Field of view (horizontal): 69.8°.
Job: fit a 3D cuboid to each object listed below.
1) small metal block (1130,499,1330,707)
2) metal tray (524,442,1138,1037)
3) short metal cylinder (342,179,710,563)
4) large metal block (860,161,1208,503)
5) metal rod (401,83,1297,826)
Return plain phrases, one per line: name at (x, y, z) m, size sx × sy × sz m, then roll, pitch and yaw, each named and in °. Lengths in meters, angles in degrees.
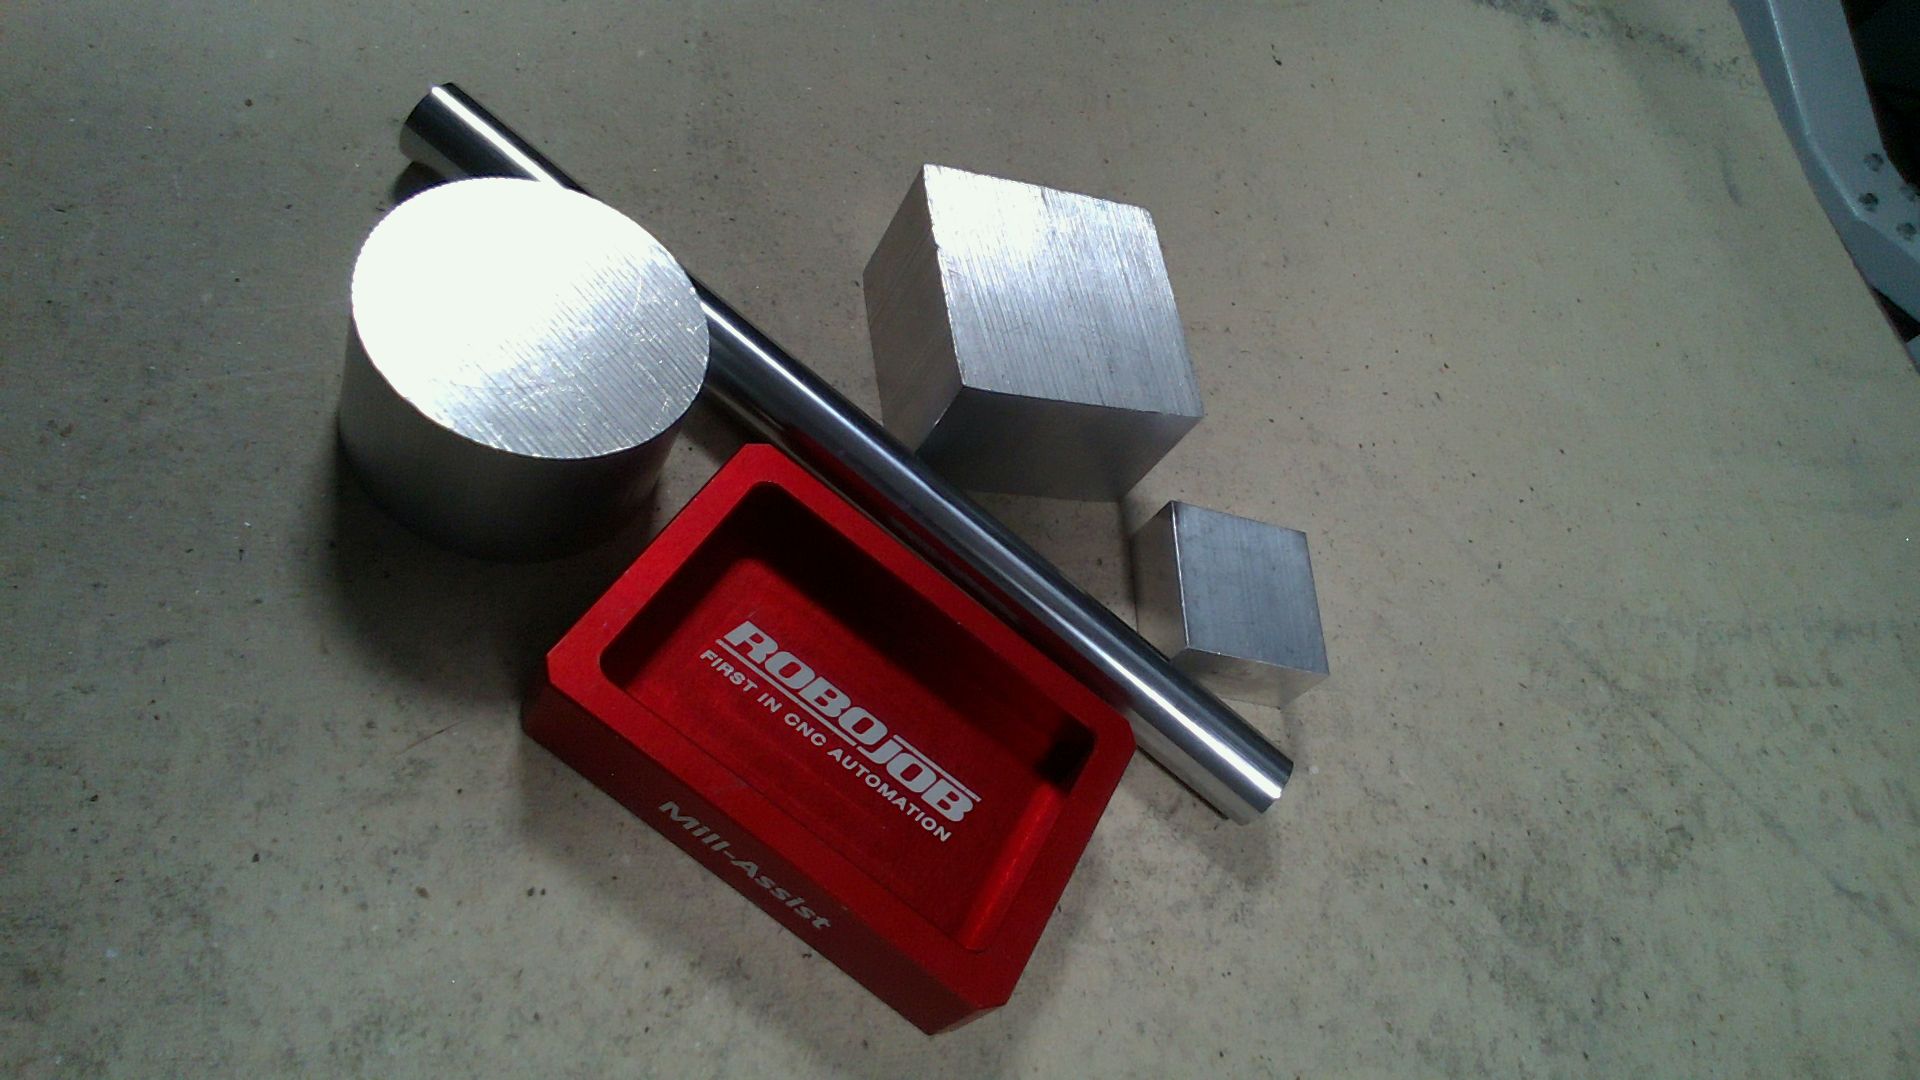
small metal block at (0.082, 0.020, 0.422) m, size 0.050 × 0.025 × 0.050 m, roll 12°, pitch 56°, yaw -21°
metal tray at (-0.029, 0.047, 0.343) m, size 0.130 × 0.030 × 0.090 m, roll 38°, pitch 51°, yaw -3°
short metal cylinder at (-0.108, -0.041, 0.341) m, size 0.080 × 0.050 × 0.080 m, roll 14°, pitch 56°, yaw -21°
large metal block at (0.020, -0.062, 0.422) m, size 0.080 × 0.050 × 0.080 m, roll 4°, pitch 60°, yaw -26°
metal rod at (-0.029, -0.022, 0.387) m, size 0.300 × 0.025 × 0.025 m, roll 39°, pitch 51°, yaw -2°
